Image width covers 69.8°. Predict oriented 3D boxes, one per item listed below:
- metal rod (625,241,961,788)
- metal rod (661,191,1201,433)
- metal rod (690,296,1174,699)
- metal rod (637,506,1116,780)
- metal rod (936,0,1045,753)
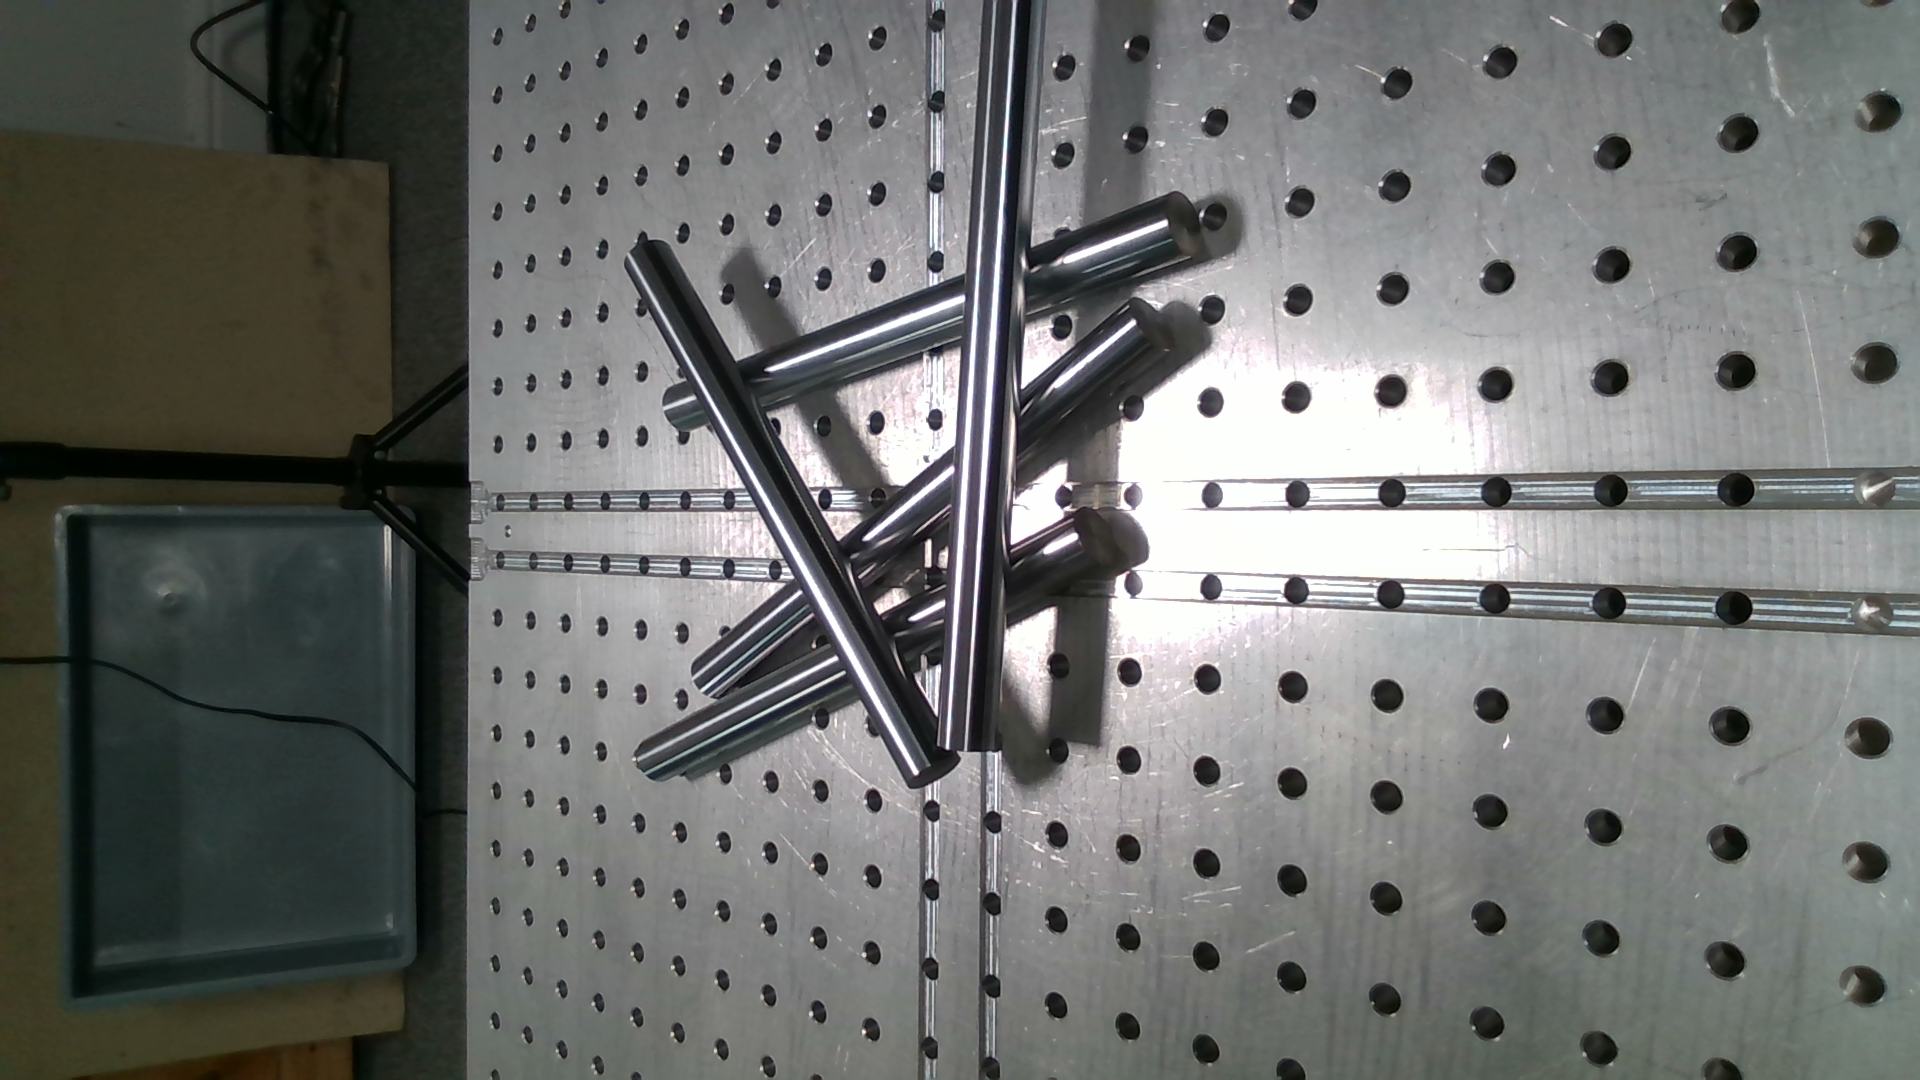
[{"bbox_3d":[-0.082,-0.022,0.621,0.025,0.025,0.299,-46,63,31],"label":"metal rod"},{"bbox_3d":[-0.030,-0.092,0.608,0.300,0.025,0.025,-13,82,40],"label":"metal rod"},{"bbox_3d":[-0.026,-0.007,0.606,0.301,0.025,0.025,-37,67,34],"label":"metal rod"},{"bbox_3d":[-0.053,0.056,0.630,0.300,0.025,0.025,-29,72,37],"label":"metal rod"},{"bbox_3d":[0.012,-0.067,0.542,0.025,0.025,0.300,7,95,40],"label":"metal rod"}]
